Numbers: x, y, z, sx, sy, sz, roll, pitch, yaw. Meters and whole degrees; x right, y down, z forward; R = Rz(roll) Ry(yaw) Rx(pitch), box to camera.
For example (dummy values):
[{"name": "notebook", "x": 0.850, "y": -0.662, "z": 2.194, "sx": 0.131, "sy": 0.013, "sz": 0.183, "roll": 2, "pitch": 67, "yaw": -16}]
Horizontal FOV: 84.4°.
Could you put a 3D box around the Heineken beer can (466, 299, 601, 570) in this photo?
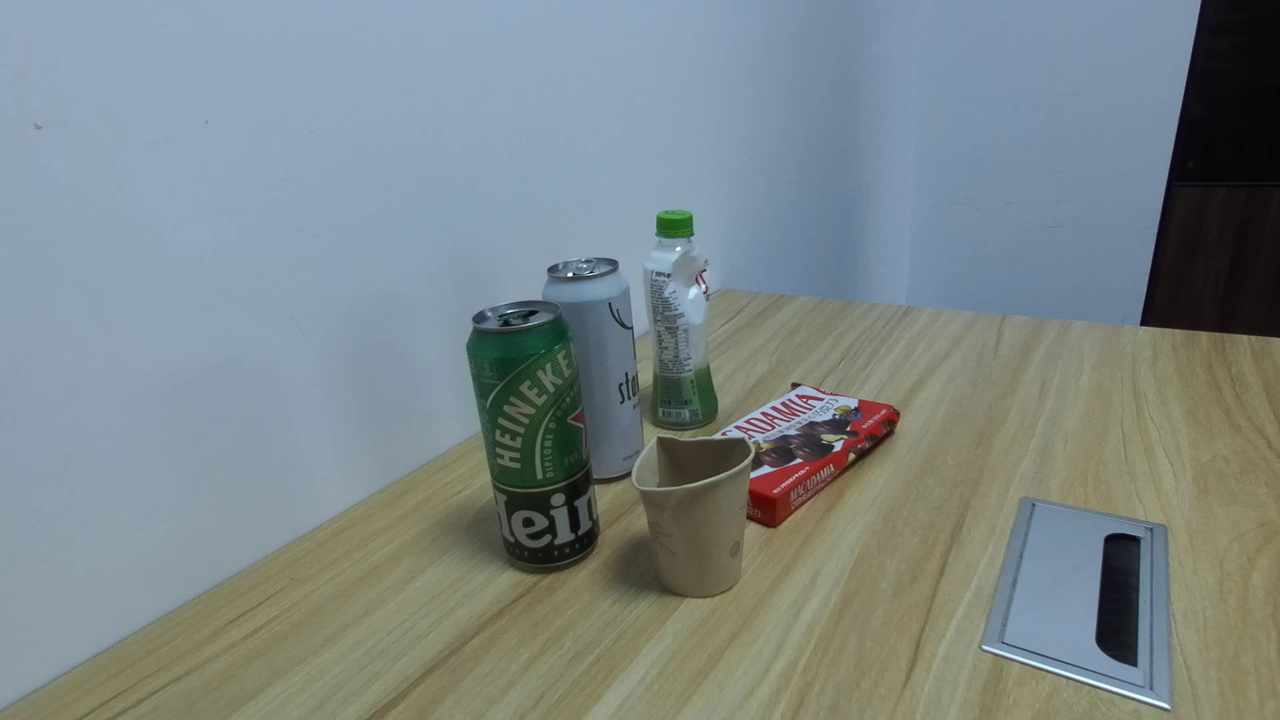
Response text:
[{"name": "Heineken beer can", "x": -0.067, "y": 0.051, "z": 0.460, "sx": 0.067, "sy": 0.169, "sz": 0.067, "roll": -5, "pitch": 21, "yaw": 2}]

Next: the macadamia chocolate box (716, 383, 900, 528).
[{"name": "macadamia chocolate box", "x": 0.122, "y": 0.067, "z": 0.567, "sx": 0.105, "sy": 0.028, "sz": 0.184, "roll": 15, "pitch": 29, "yaw": 42}]

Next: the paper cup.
[{"name": "paper cup", "x": 0.035, "y": 0.095, "z": 0.429, "sx": 0.071, "sy": 0.084, "sz": 0.066, "roll": -2, "pitch": 21, "yaw": 12}]

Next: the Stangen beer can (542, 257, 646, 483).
[{"name": "Stangen beer can", "x": -0.035, "y": 0.010, "z": 0.560, "sx": 0.067, "sy": 0.171, "sz": 0.067, "roll": -4, "pitch": 19, "yaw": 2}]

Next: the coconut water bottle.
[{"name": "coconut water bottle", "x": 0.034, "y": -0.035, "z": 0.620, "sx": 0.069, "sy": 0.187, "sz": 0.069, "roll": -3, "pitch": 19, "yaw": 1}]
